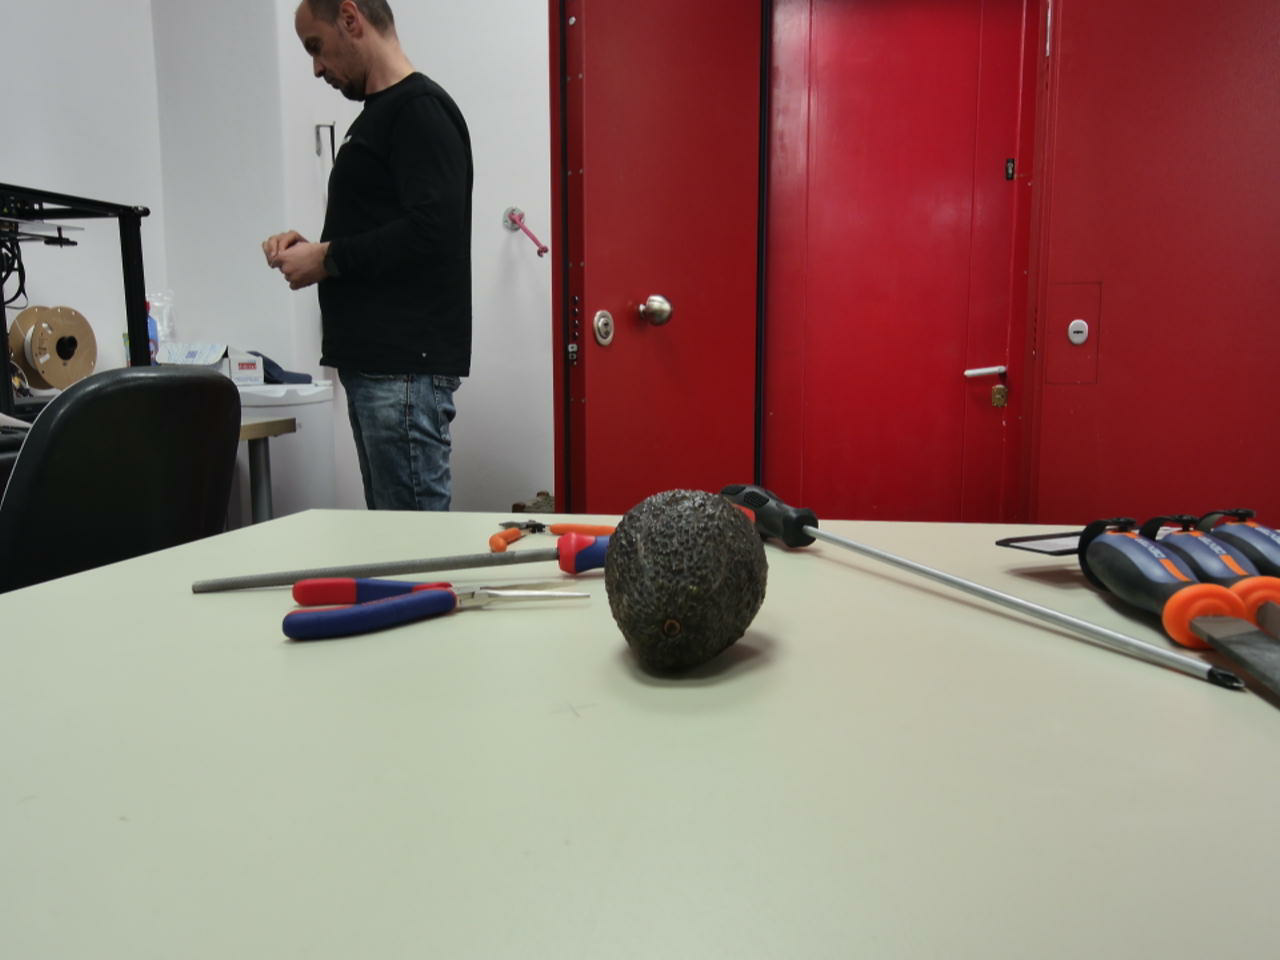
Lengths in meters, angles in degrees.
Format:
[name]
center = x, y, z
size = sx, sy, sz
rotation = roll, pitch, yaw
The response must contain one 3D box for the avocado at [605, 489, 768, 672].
[avocado]
center = 0.016, 0.039, 0.421
size = 0.070, 0.069, 0.090
rotation = 4, 5, 37
